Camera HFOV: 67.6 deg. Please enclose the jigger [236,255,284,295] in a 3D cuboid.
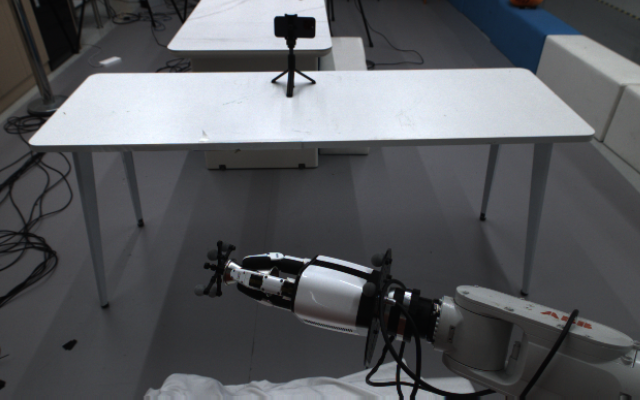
[{"bbox_3d":[-0.092,0.105,0.688,0.071,0.043,0.043,10,35,16],"label":"jigger"}]
